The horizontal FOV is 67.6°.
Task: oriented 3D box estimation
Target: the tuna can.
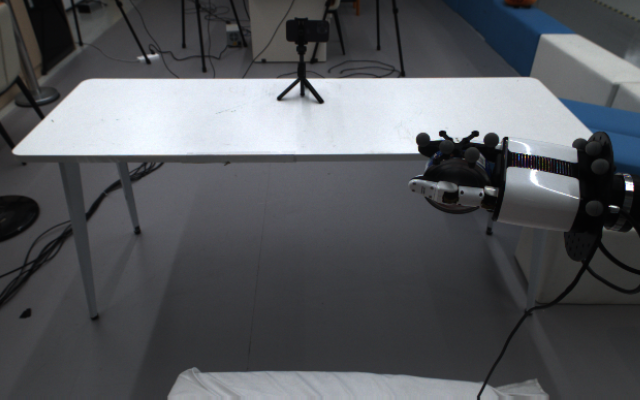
[{"bbox_3d":[0.177,-0.027,0.621,0.085,0.085,0.034,12,39,13],"label":"tuna can"}]
